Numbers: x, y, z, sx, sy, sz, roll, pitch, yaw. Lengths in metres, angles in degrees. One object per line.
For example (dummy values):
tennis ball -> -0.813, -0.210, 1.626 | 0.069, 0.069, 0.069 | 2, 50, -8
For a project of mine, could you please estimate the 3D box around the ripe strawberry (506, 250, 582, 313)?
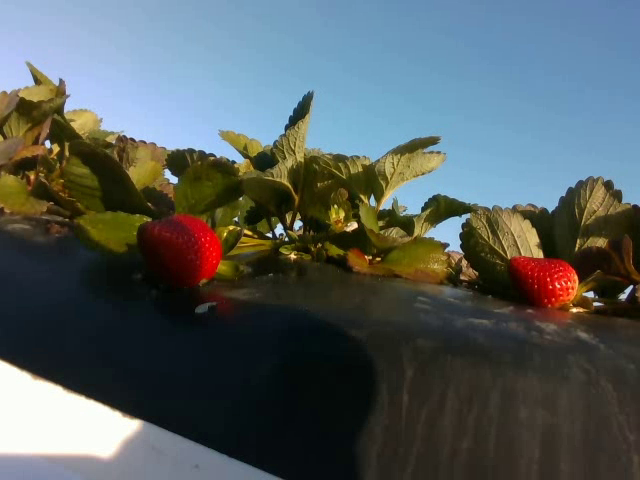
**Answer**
ripe strawberry -> 0.117, 0.020, 0.321 | 0.046, 0.036, 0.034 | 25, 21, 14

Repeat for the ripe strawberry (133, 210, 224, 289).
ripe strawberry -> -0.069, 0.002, 0.290 | 0.045, 0.042, 0.055 | 24, -9, 24
